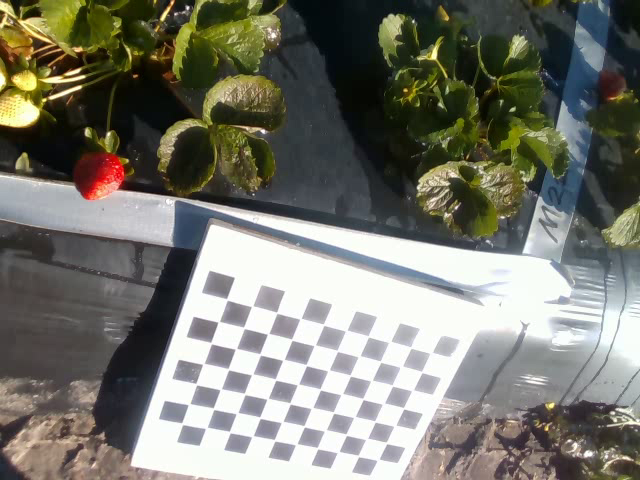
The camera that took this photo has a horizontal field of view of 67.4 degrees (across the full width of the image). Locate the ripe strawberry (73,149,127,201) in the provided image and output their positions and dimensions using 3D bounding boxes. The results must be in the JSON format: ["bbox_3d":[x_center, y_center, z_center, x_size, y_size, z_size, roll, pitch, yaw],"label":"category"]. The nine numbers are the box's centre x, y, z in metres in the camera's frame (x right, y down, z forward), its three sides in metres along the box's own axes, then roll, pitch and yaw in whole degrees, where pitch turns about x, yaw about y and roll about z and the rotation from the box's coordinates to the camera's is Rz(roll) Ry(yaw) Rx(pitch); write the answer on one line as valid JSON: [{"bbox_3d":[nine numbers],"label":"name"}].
[{"bbox_3d":[-0.149,-0.040,0.303,0.036,0.038,0.046,17,31,-11],"label":"ripe strawberry"}]
